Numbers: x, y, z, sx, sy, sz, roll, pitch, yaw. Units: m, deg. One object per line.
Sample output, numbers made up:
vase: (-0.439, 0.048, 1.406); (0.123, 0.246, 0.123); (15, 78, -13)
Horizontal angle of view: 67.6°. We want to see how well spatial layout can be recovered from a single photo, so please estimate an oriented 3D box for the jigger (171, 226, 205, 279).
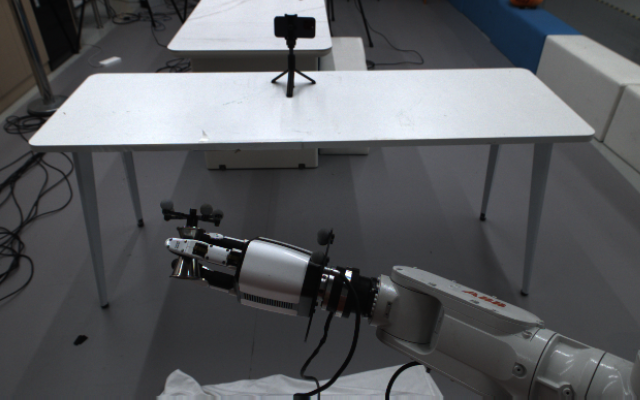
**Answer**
jigger: (-0.180, 0.073, 0.661); (0.043, 0.043, 0.071); (3, 77, 1)
